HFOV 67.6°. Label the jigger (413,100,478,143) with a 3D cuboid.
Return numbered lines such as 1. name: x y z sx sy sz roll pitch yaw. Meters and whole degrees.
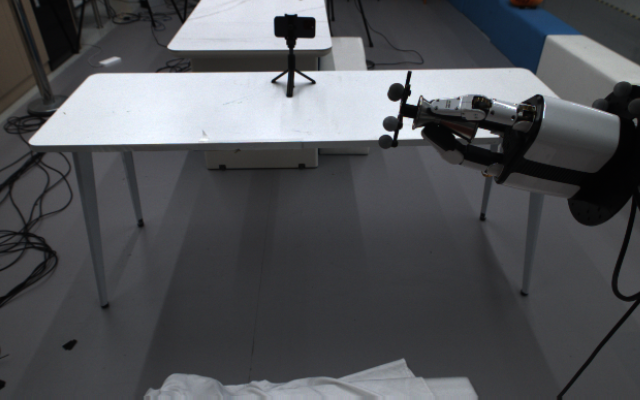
1. jigger: 0.147 -0.099 0.559 0.071 0.043 0.043 13 35 3
